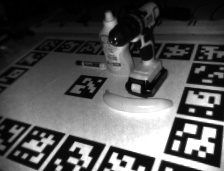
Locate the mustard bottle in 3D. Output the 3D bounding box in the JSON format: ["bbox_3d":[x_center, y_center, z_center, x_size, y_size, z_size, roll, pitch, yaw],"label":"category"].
[{"bbox_3d":[0.012,-0.118,0.661,0.095,0.193,0.059,18,50,33],"label":"mustard bottle"}]

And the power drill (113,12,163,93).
[{"bbox_3d":[0.075,-0.075,0.565,0.056,0.188,0.185,21,50,34],"label":"power drill"}]

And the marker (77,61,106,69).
[{"bbox_3d":[-0.076,-0.076,0.777,0.119,0.020,0.020,9,47,27],"label":"marker"}]

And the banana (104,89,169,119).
[{"bbox_3d":[0.051,0.053,0.576,0.194,0.039,0.074,13,49,32],"label":"banana"}]
